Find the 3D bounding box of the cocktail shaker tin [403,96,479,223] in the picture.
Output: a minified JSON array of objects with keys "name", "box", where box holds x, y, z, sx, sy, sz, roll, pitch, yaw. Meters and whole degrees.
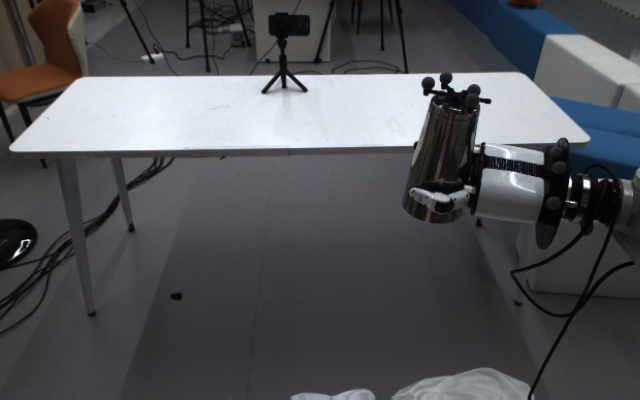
[{"name":"cocktail shaker tin","box":[0.177,-0.062,0.696,0.093,0.170,0.093,3,34,-2]}]
